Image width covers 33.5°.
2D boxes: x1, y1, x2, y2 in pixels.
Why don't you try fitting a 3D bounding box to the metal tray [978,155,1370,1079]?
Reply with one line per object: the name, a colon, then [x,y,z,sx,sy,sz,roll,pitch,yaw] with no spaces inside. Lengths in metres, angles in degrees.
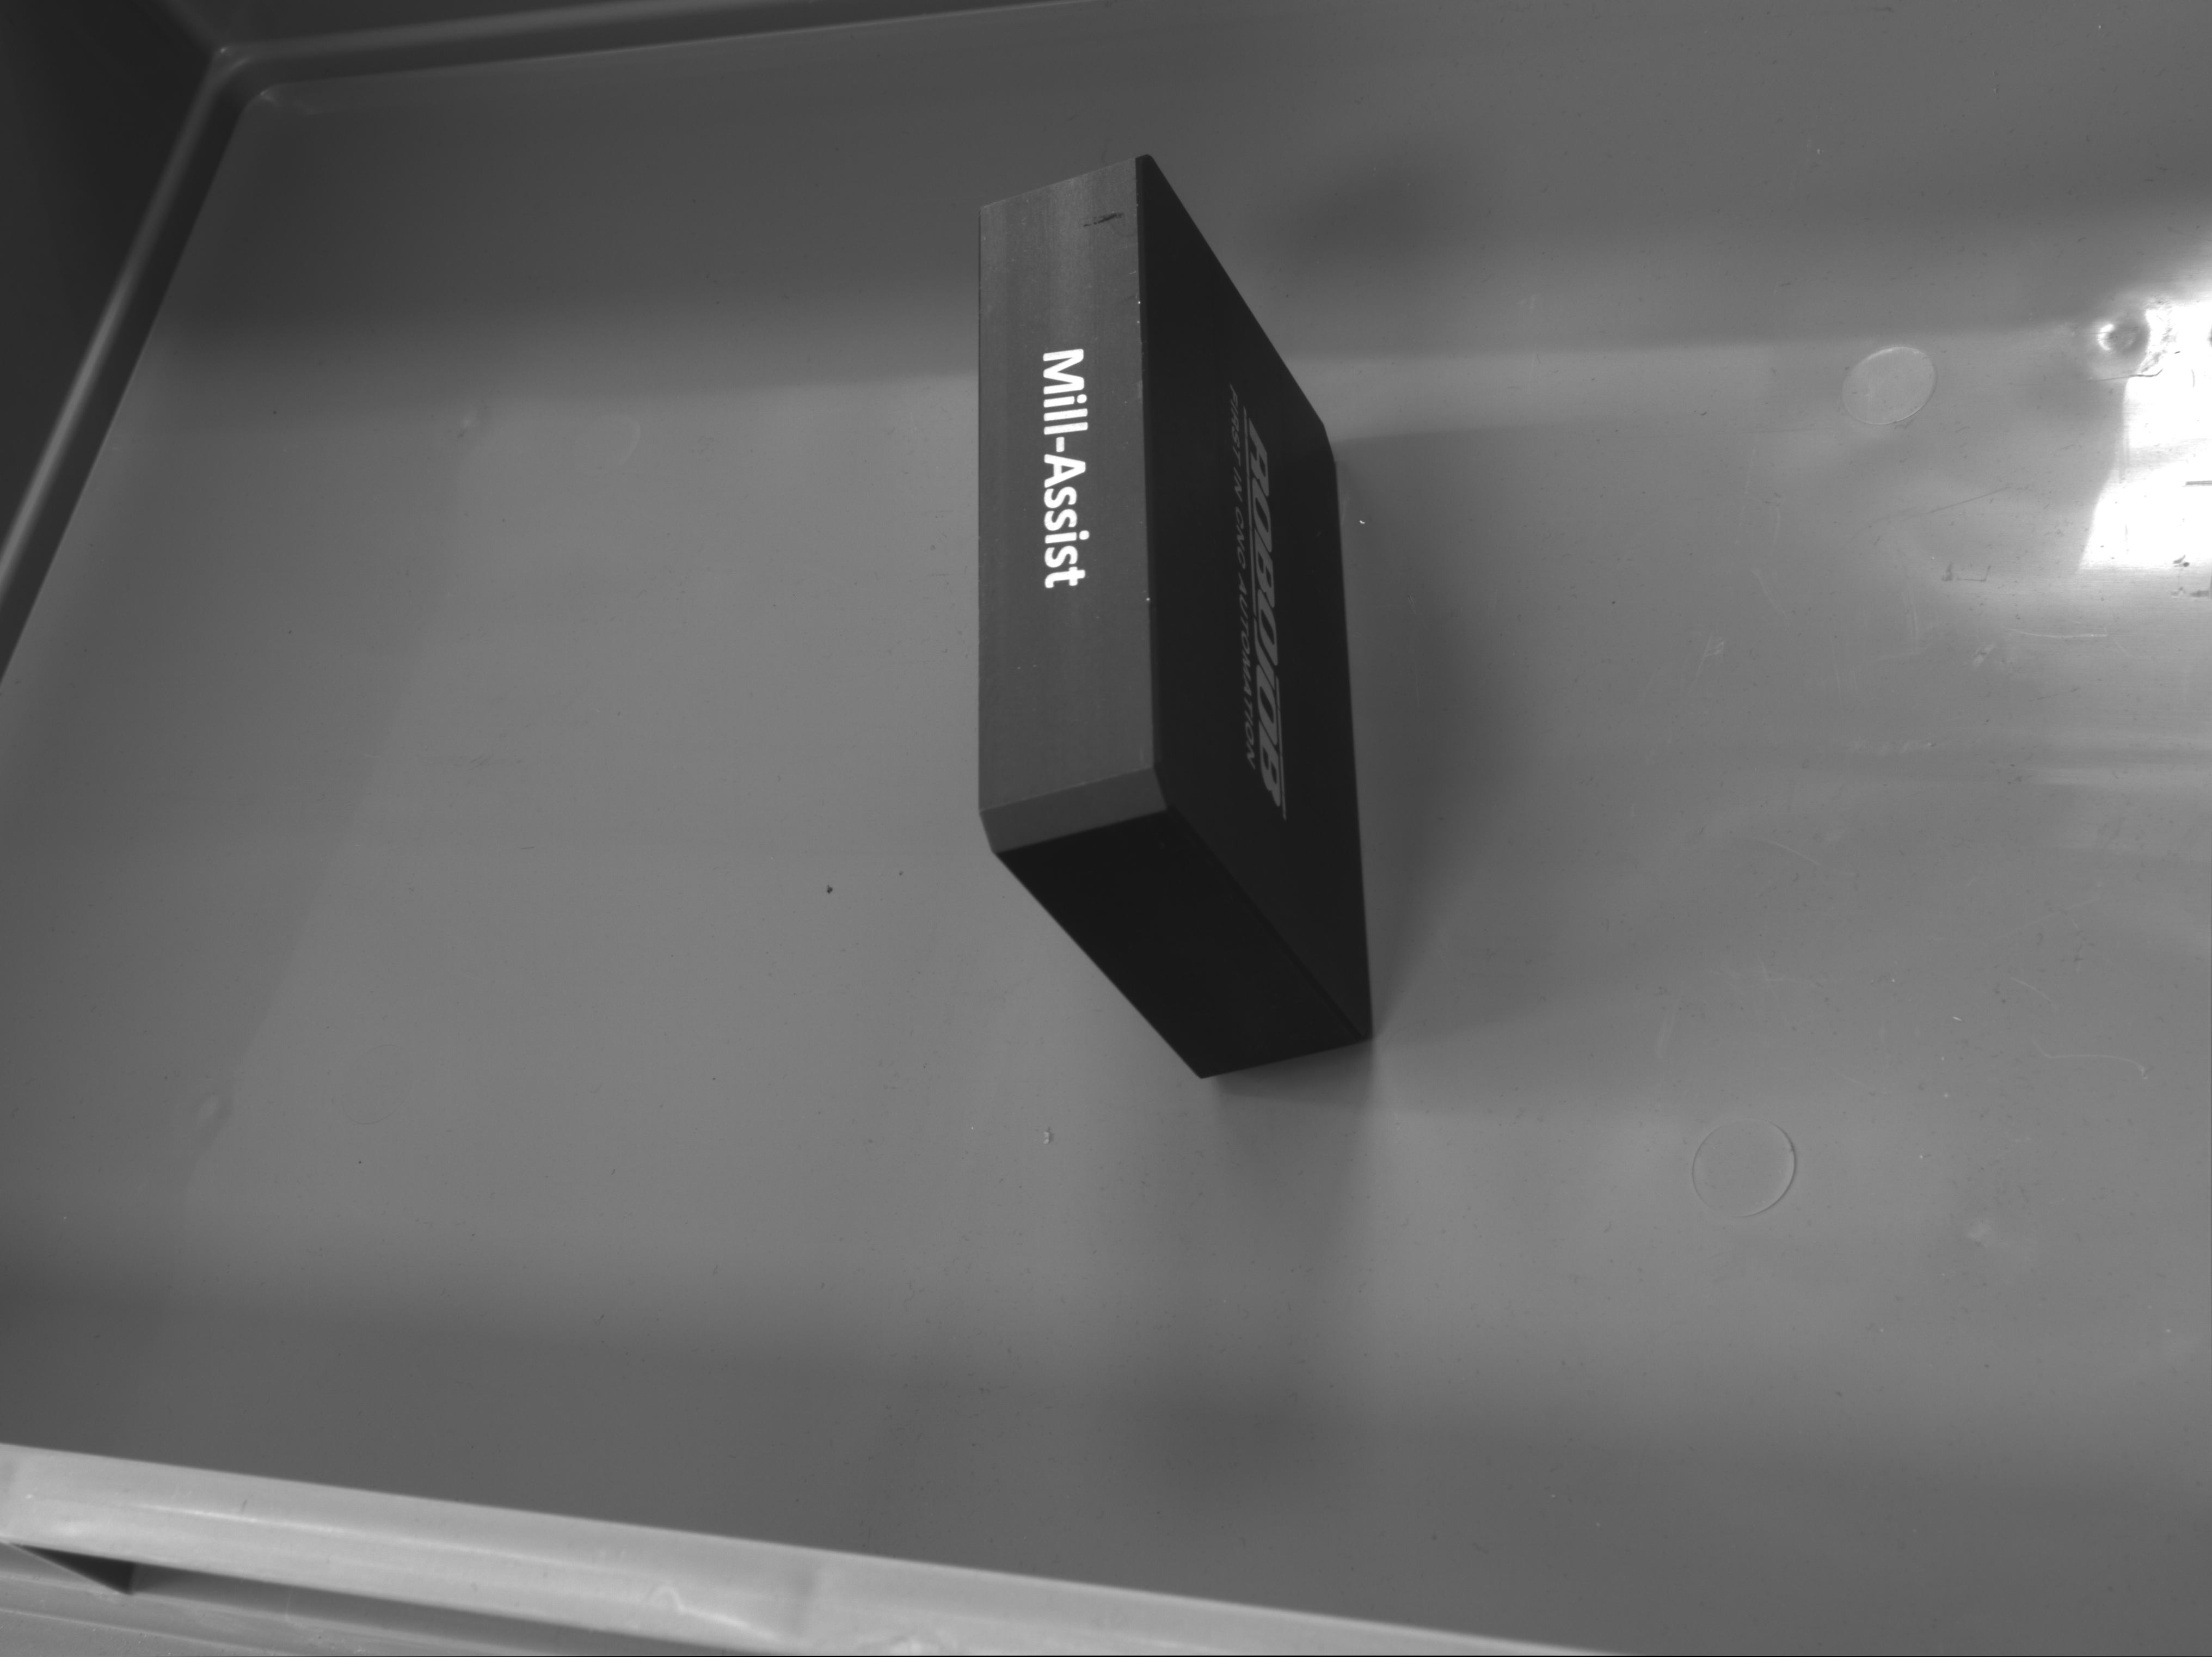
metal tray: [0.011,-0.035,0.616,0.030,0.090,0.130,-14,56,19]
